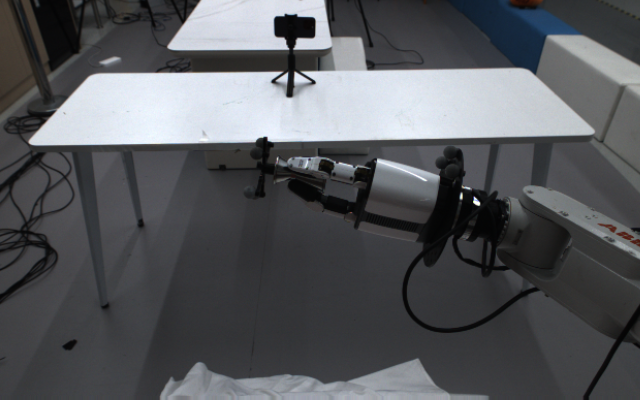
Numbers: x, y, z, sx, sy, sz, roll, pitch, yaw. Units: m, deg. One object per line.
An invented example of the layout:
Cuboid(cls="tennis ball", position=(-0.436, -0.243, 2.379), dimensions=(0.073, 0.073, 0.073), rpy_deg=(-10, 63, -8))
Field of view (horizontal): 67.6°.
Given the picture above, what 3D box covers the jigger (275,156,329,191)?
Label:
Cuboid(cls="jigger", position=(-0.018, -0.038, 0.645), dimensions=(0.071, 0.043, 0.043), rpy_deg=(9, 35, 1))
